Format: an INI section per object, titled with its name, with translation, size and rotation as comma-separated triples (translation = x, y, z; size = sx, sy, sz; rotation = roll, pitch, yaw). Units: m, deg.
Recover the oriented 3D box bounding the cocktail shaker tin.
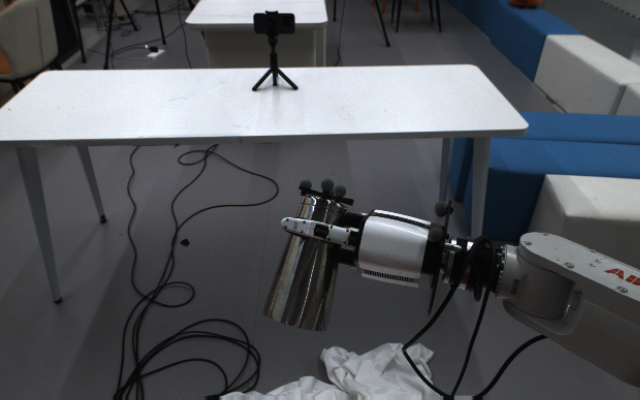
[cocktail shaker tin]
translation = -0.012, 0.083, 0.675
size = 0.093, 0.170, 0.093
rotation = 15, -5, 1
